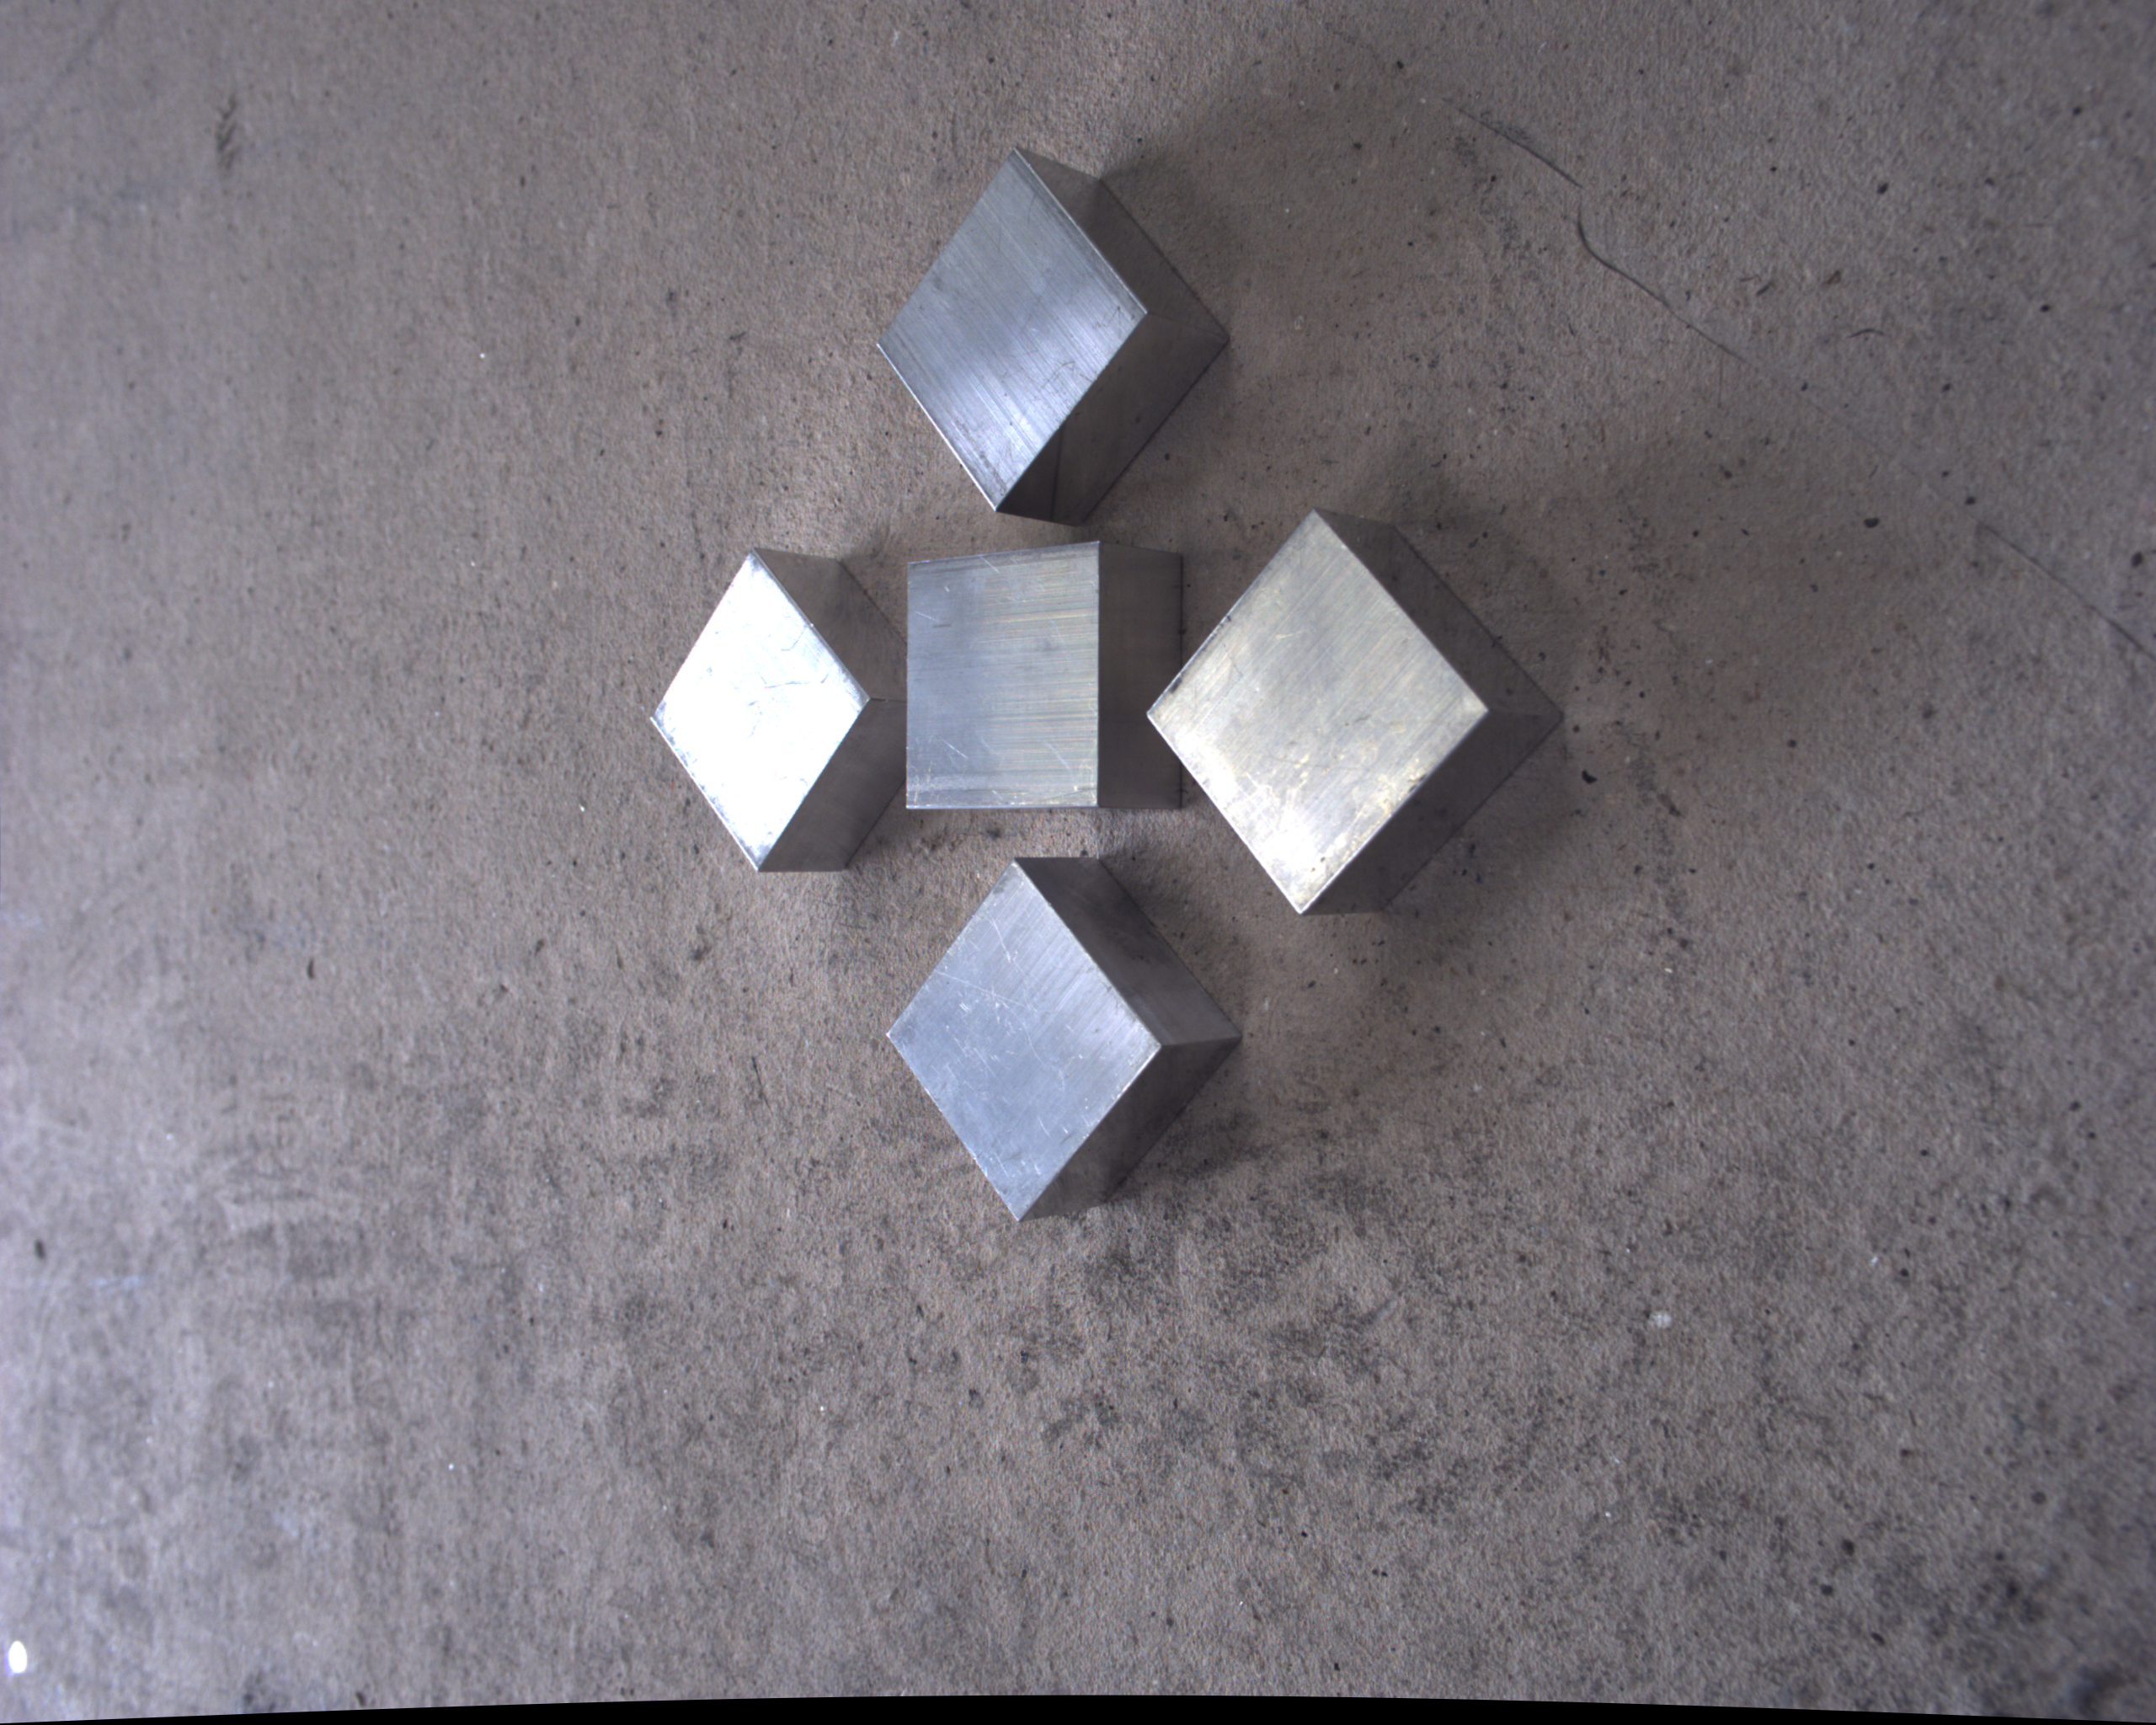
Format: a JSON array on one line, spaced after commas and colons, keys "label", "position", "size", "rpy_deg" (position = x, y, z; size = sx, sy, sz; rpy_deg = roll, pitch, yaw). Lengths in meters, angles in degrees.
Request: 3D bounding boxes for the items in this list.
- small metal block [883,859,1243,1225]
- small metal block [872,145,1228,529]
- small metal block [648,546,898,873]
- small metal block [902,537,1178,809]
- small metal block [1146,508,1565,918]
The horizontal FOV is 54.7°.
[{"label": "small metal block", "position": [-0.004, 0.034, 0.410], "size": [0.050, 0.025, 0.050], "rpy_deg": [51, 119, 27]}, {"label": "small metal block", "position": [-0.007, -0.103, 0.411], "size": [0.050, 0.025, 0.050], "rpy_deg": [-48, 61, 29]}, {"label": "small metal block", "position": [-0.061, -0.033, 0.458], "size": [0.050, 0.025, 0.050], "rpy_deg": [51, 119, 27]}, {"label": "small metal block", "position": [-0.008, -0.036, 0.412], "size": [0.050, 0.025, 0.050], "rpy_deg": [1, 90, 40]}, {"label": "small metal block", "position": [0.048, -0.026, 0.368], "size": [0.050, 0.025, 0.050], "rpy_deg": [-51, 61, 28]}]
